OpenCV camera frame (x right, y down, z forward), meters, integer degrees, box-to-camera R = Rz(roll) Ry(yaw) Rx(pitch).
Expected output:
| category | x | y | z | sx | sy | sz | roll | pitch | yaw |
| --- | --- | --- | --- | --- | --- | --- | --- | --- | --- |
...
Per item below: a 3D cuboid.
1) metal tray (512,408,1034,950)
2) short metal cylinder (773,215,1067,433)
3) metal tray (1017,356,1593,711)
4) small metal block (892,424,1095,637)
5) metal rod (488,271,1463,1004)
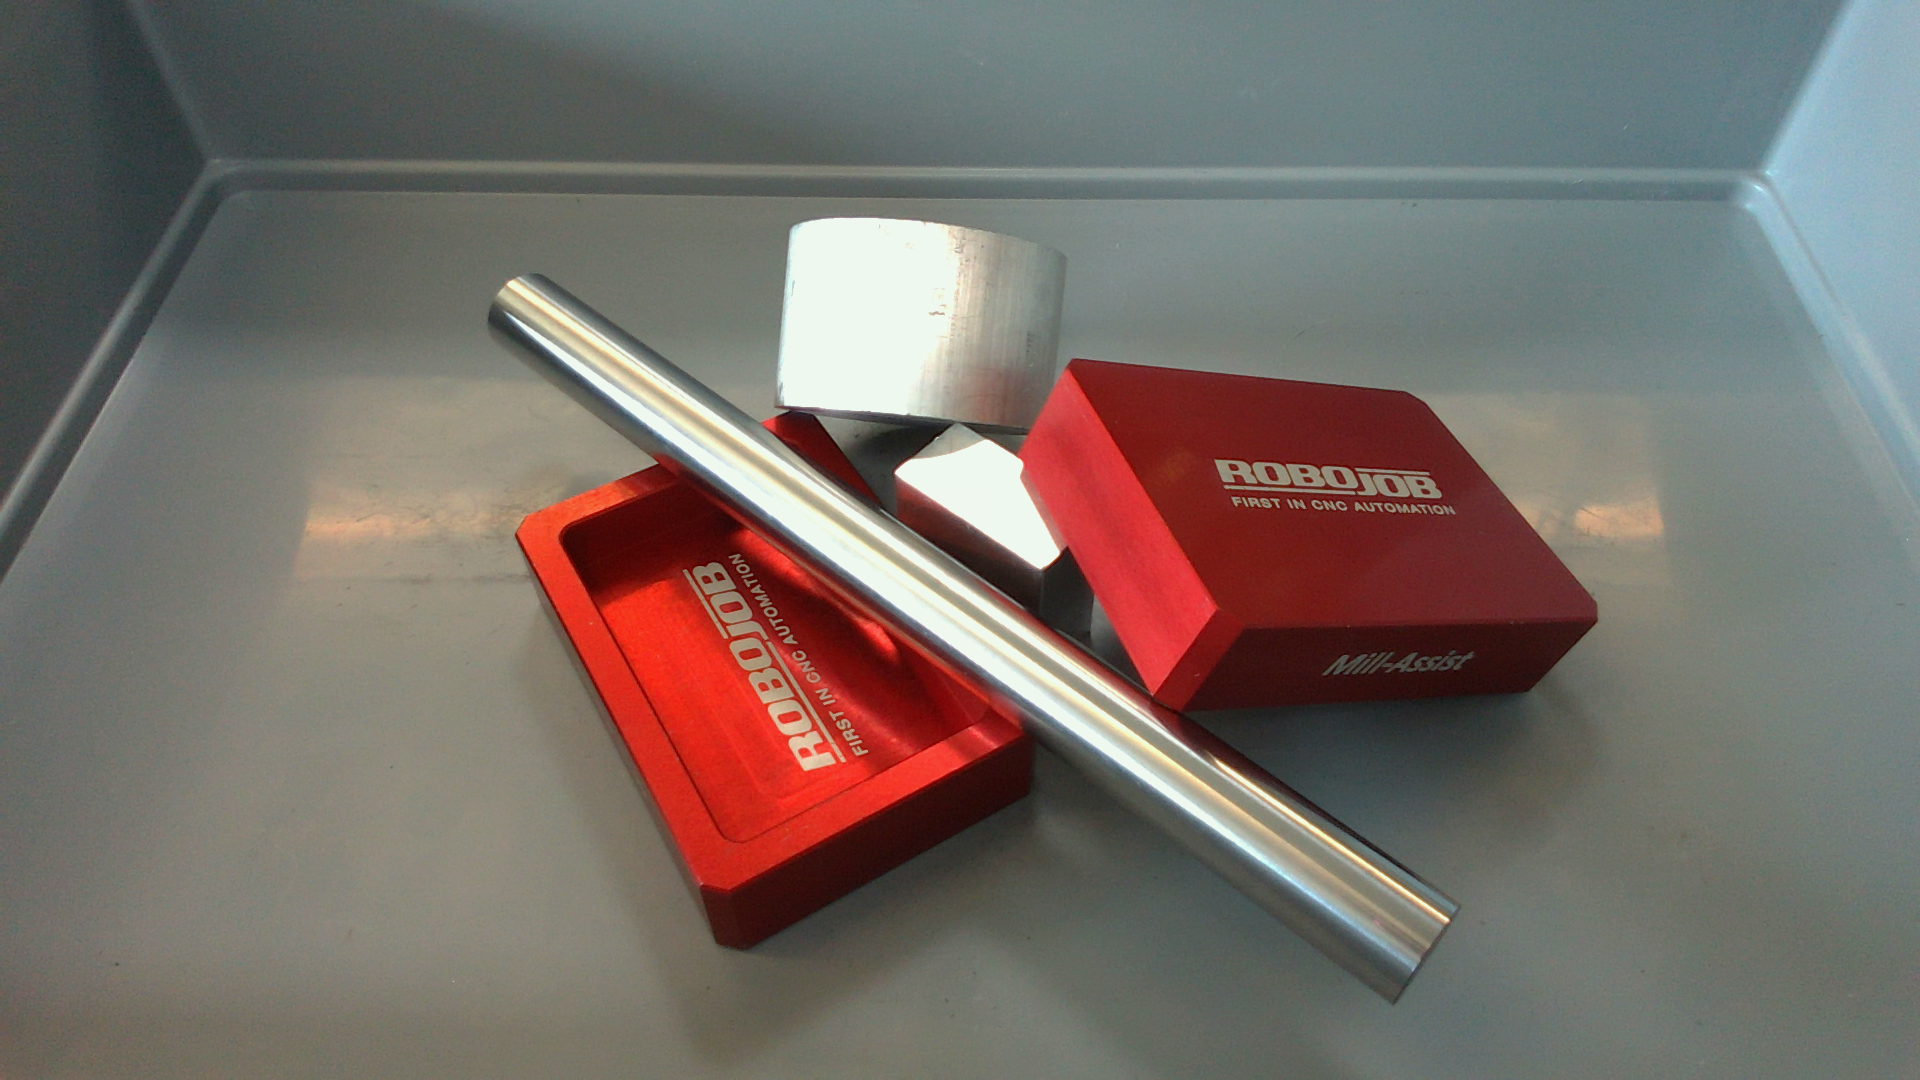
| category | x | y | z | sx | sy | sz | roll | pitch | yaw |
| --- | --- | --- | --- | --- | --- | --- | --- | --- | --- |
| metal tray | -0.050 | 0.029 | 0.362 | 0.090 | 0.030 | 0.130 | -25 | 54 | -20 |
| short metal cylinder | -0.012 | -0.059 | 0.396 | 0.080 | 0.080 | 0.050 | 6 | 92 | 5 |
| metal tray | 0.090 | -0.003 | 0.356 | 0.130 | 0.030 | 0.090 | 1 | 45 | -32 |
| small metal block | 0.010 | 0.003 | 0.370 | 0.050 | 0.050 | 0.025 | 33 | 58 | 25 |
| metal rod | -0.017 | 0.008 | 0.344 | 0.299 | 0.025 | 0.025 | 34 | 58 | 25 |
